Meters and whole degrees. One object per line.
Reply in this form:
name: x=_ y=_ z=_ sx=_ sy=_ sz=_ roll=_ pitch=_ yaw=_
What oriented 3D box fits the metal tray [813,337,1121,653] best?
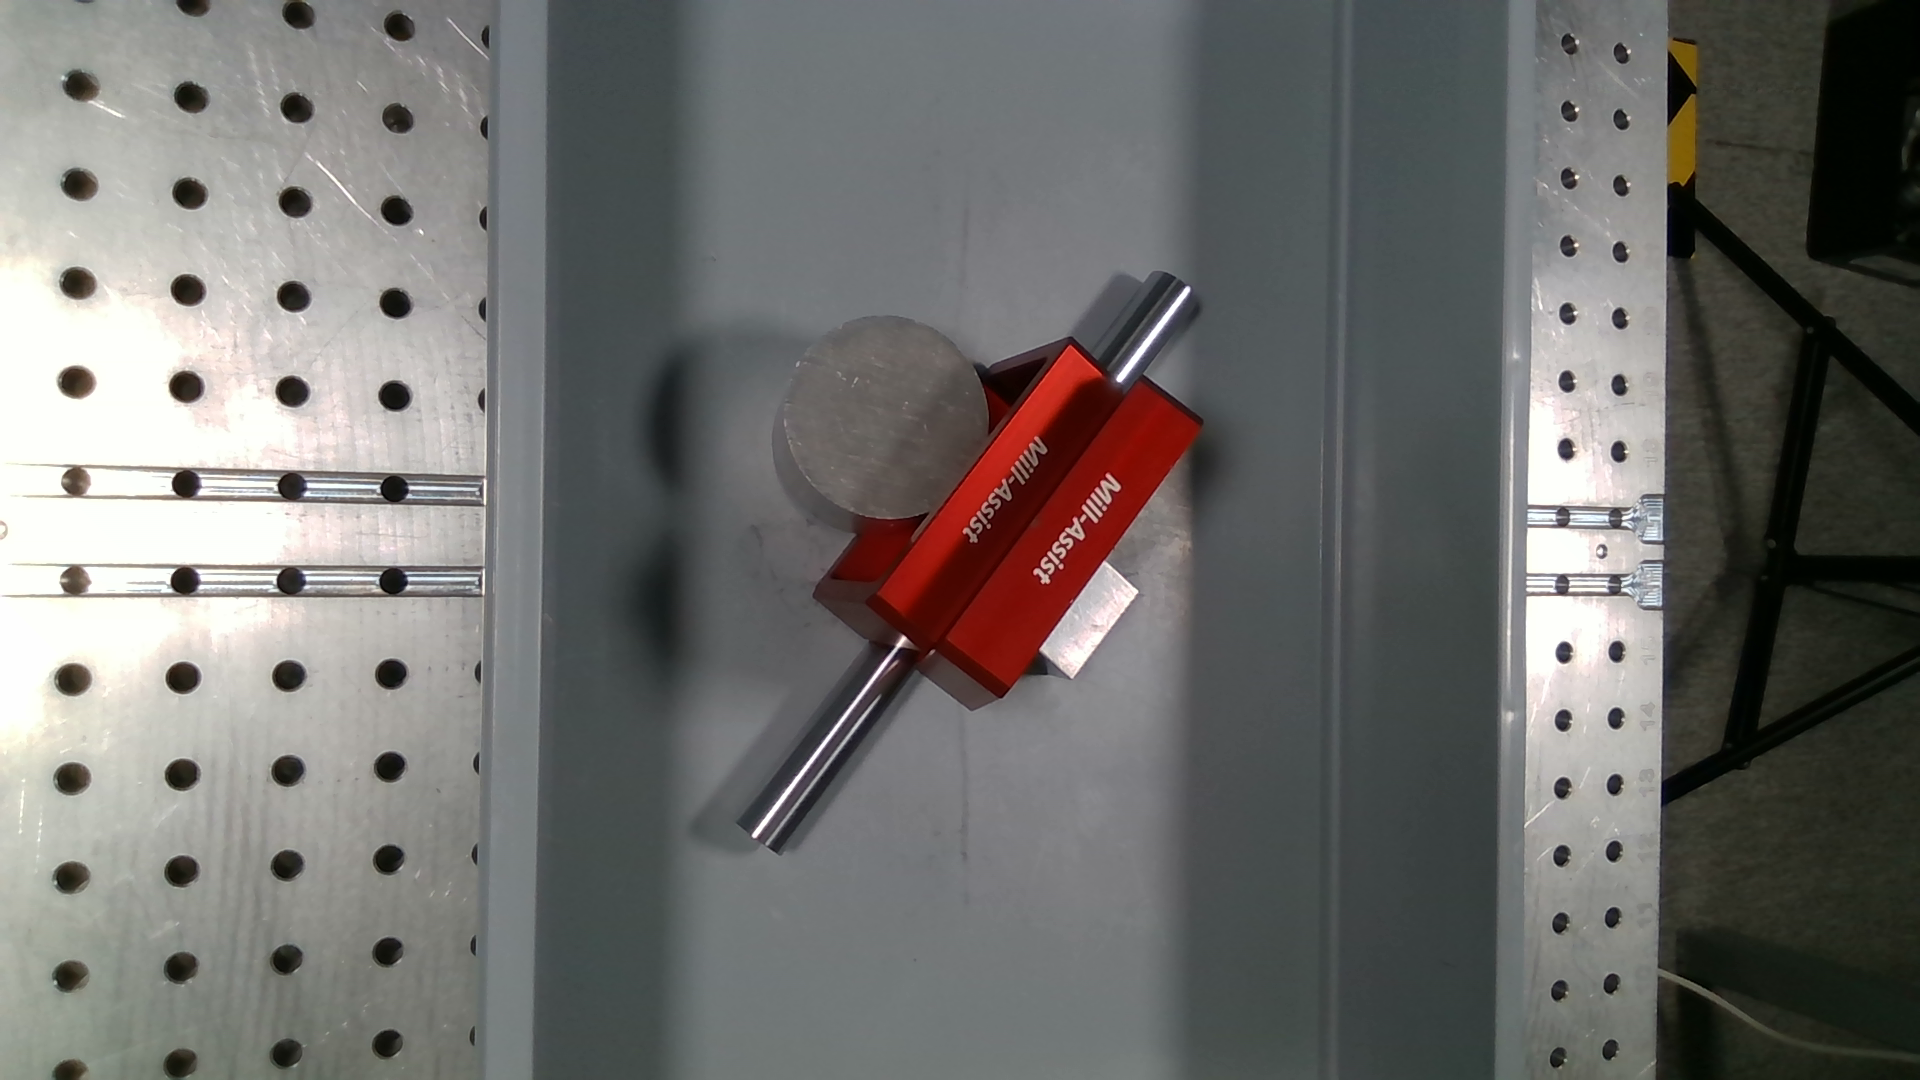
metal tray: x=0.001 y=-0.018 z=0.551 sx=0.030 sy=0.090 sz=0.130 roll=41 pitch=77 yaw=-16

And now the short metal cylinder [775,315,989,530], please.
short metal cylinder: x=-0.033 y=-0.045 z=0.553 sx=0.080 sy=0.050 sz=0.080 roll=1 pitch=84 yaw=-13

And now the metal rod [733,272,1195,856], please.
metal rod: x=0.007 y=0.004 z=0.589 sx=0.025 sy=0.025 sz=0.300 roll=41 pitch=77 yaw=-16

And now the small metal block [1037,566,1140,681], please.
small metal block: x=0.041 y=0.025 z=0.600 sx=0.050 sy=0.025 sz=0.050 roll=42 pitch=77 yaw=-15

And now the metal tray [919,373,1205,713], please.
metal tray: x=0.037 y=0.004 z=0.537 sx=0.030 sy=0.090 sz=0.130 roll=37 pitch=77 yaw=1
